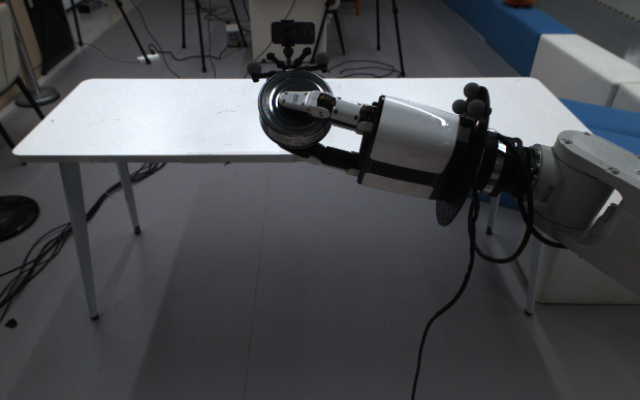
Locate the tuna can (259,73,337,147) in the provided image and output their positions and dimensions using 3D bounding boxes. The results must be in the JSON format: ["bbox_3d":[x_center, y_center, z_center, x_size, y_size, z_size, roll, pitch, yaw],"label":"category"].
[{"bbox_3d":[-0.022,-0.099,0.544,0.085,0.034,0.085,0,72,-1],"label":"tuna can"}]
